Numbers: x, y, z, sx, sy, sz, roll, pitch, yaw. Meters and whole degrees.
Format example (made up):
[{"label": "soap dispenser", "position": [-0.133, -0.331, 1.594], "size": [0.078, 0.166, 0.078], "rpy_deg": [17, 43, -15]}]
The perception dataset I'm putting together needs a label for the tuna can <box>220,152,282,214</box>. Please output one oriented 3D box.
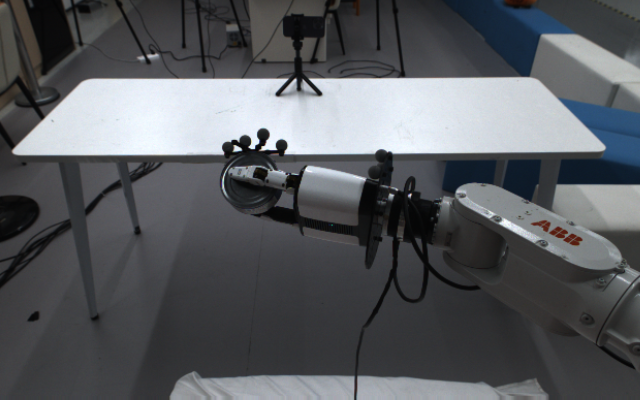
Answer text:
[{"label": "tuna can", "position": [-0.092, -0.023, 0.686], "size": [0.085, 0.034, 0.085], "rpy_deg": [-2, 69, 6]}]
